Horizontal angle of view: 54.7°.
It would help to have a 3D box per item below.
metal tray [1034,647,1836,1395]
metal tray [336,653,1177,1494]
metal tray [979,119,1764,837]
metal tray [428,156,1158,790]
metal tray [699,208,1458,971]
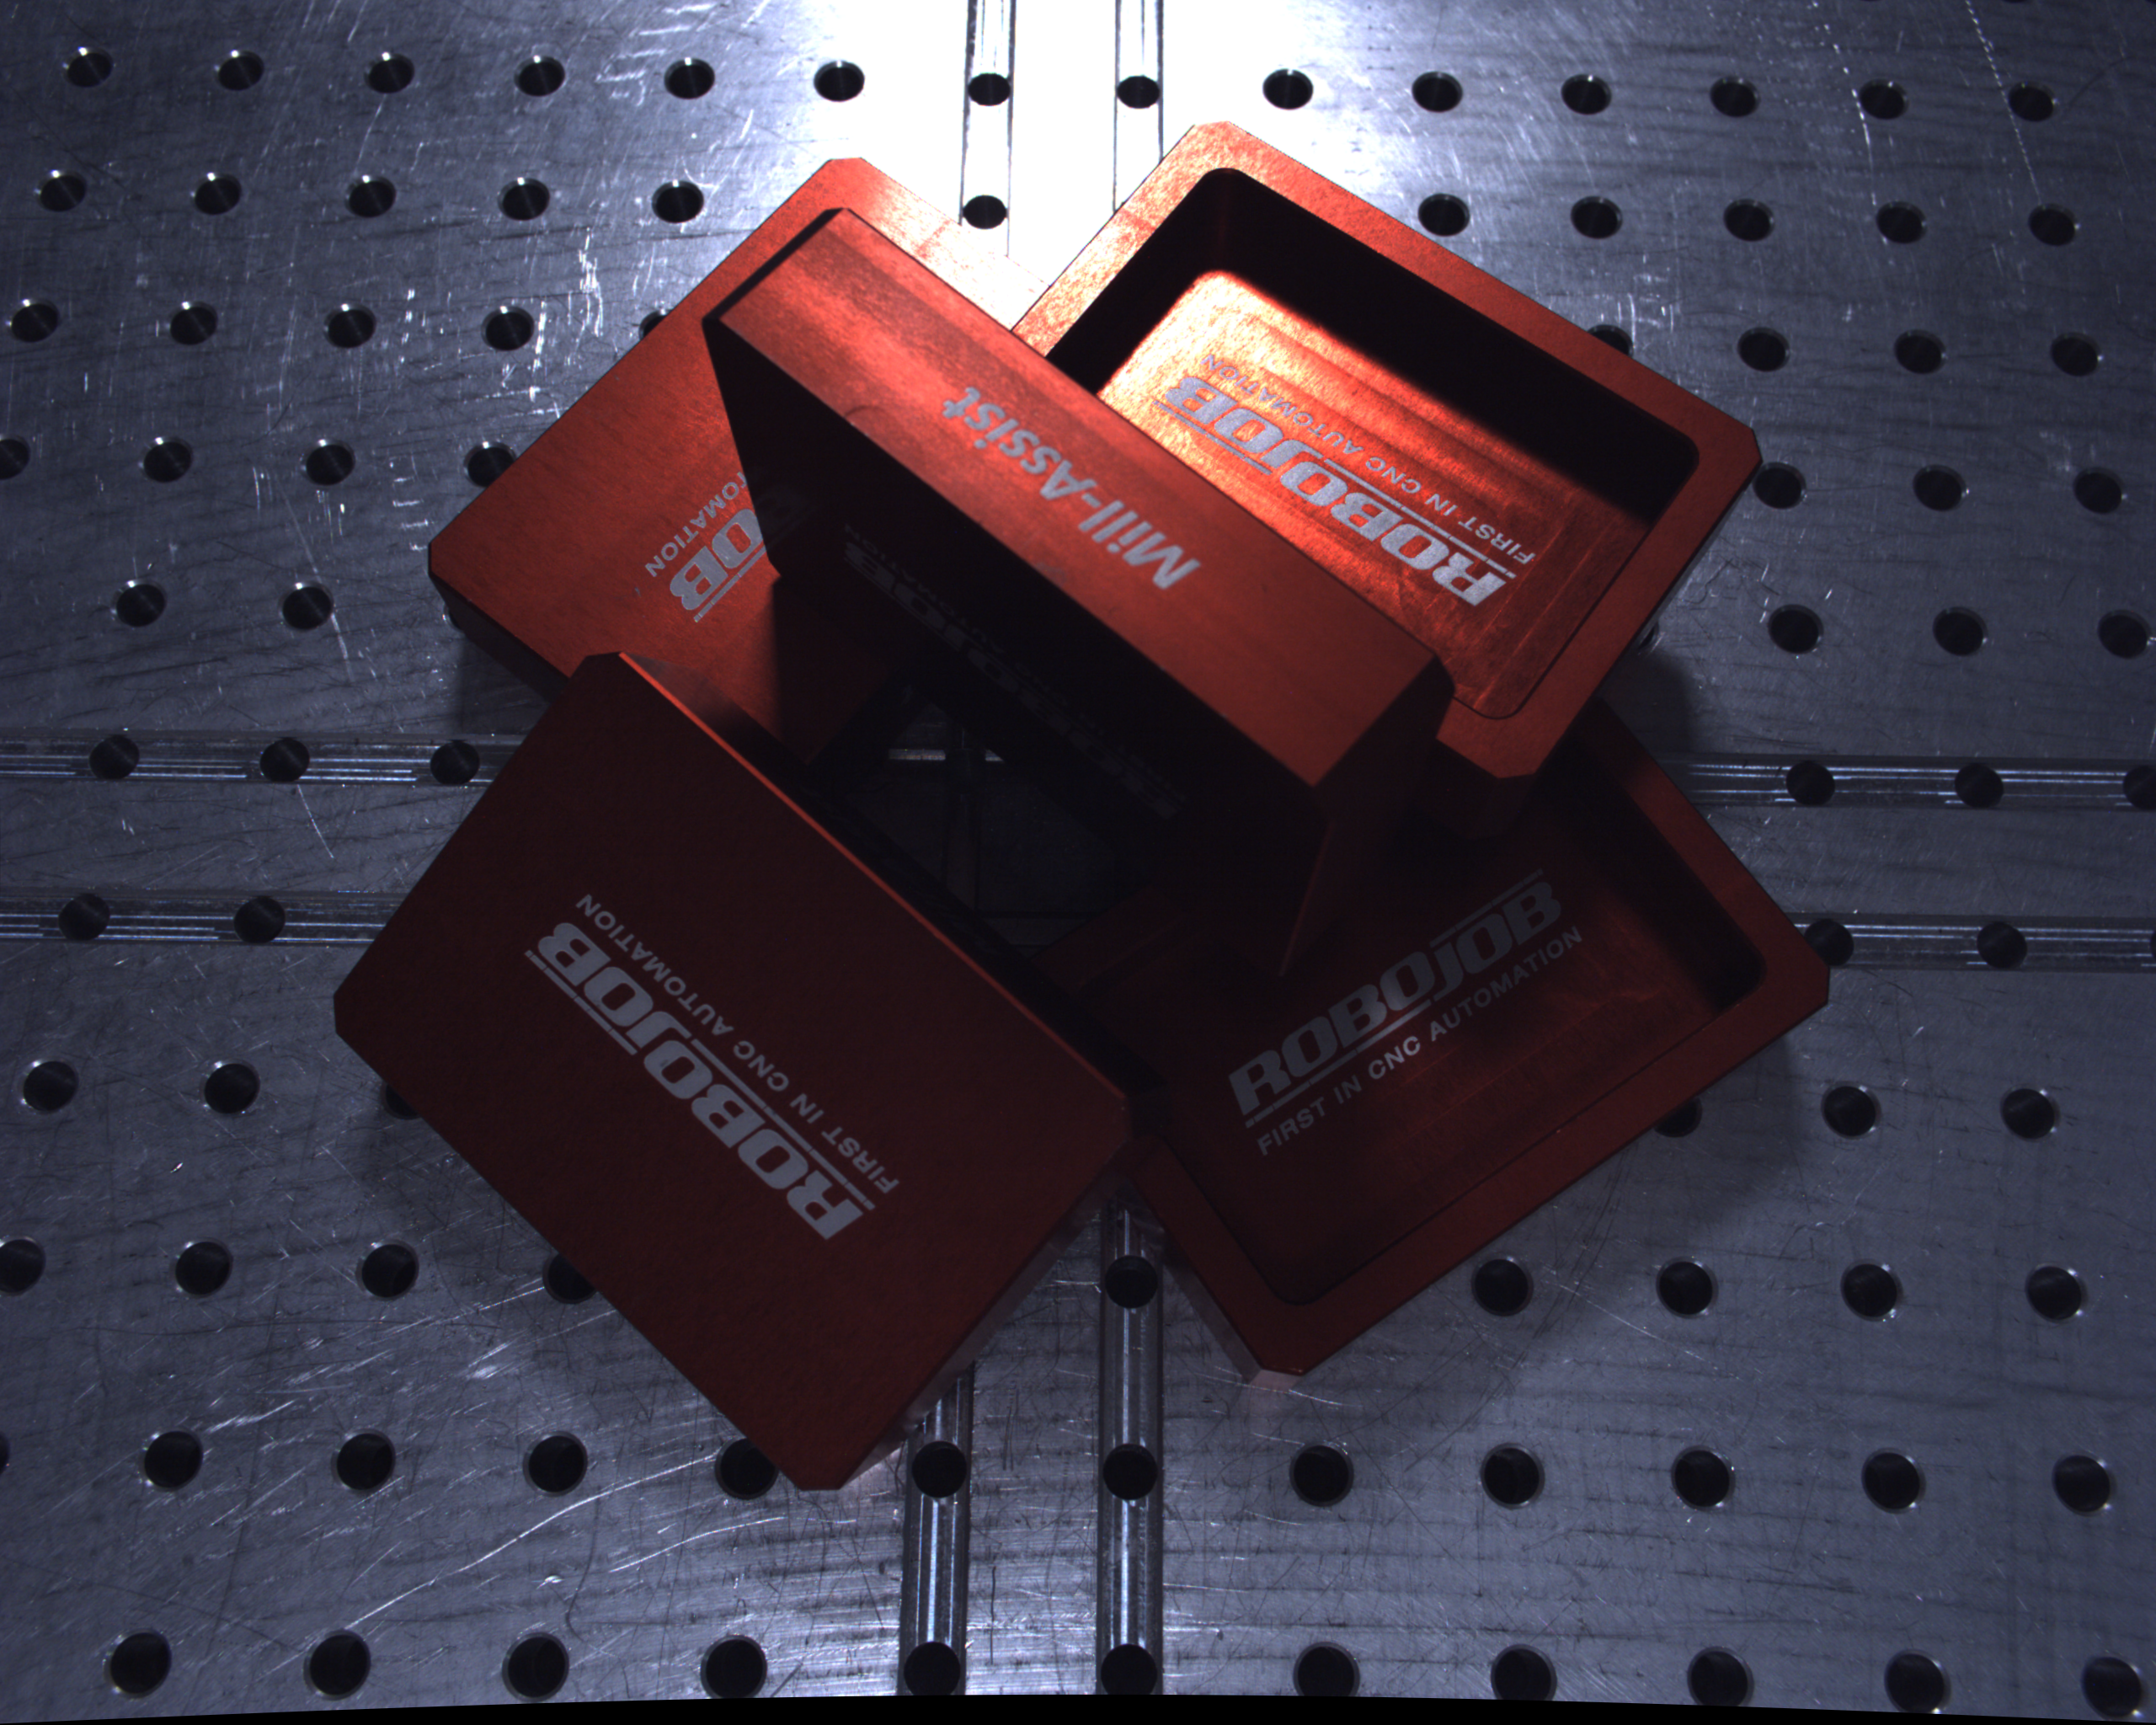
[{"bbox_3d":[0.064,0.028,0.398,0.131,0.030,0.090,-32,73,-11],"label":"metal tray"},{"bbox_3d":[-0.060,0.036,0.375,0.130,0.030,0.090,41,100,13],"label":"metal tray"},{"bbox_3d":[0.052,-0.077,0.405,0.130,0.030,0.090,34,73,11],"label":"metal tray"},{"bbox_3d":[-0.056,-0.076,0.435,0.090,0.030,0.130,37,74,12],"label":"metal tray"},{"bbox_3d":[-0.002,-0.043,0.360,0.130,0.090,0.030,39,75,12],"label":"metal tray"}]
